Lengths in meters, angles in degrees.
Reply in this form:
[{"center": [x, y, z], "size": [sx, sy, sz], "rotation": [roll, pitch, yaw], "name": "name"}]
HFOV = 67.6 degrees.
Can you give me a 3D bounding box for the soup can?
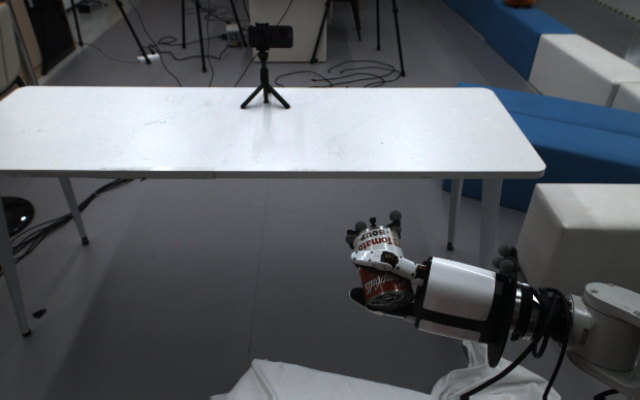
[{"center": [0.090, 0.096, 0.680], "size": [0.067, 0.067, 0.101], "rotation": [-5, 57, -10], "name": "soup can"}]
